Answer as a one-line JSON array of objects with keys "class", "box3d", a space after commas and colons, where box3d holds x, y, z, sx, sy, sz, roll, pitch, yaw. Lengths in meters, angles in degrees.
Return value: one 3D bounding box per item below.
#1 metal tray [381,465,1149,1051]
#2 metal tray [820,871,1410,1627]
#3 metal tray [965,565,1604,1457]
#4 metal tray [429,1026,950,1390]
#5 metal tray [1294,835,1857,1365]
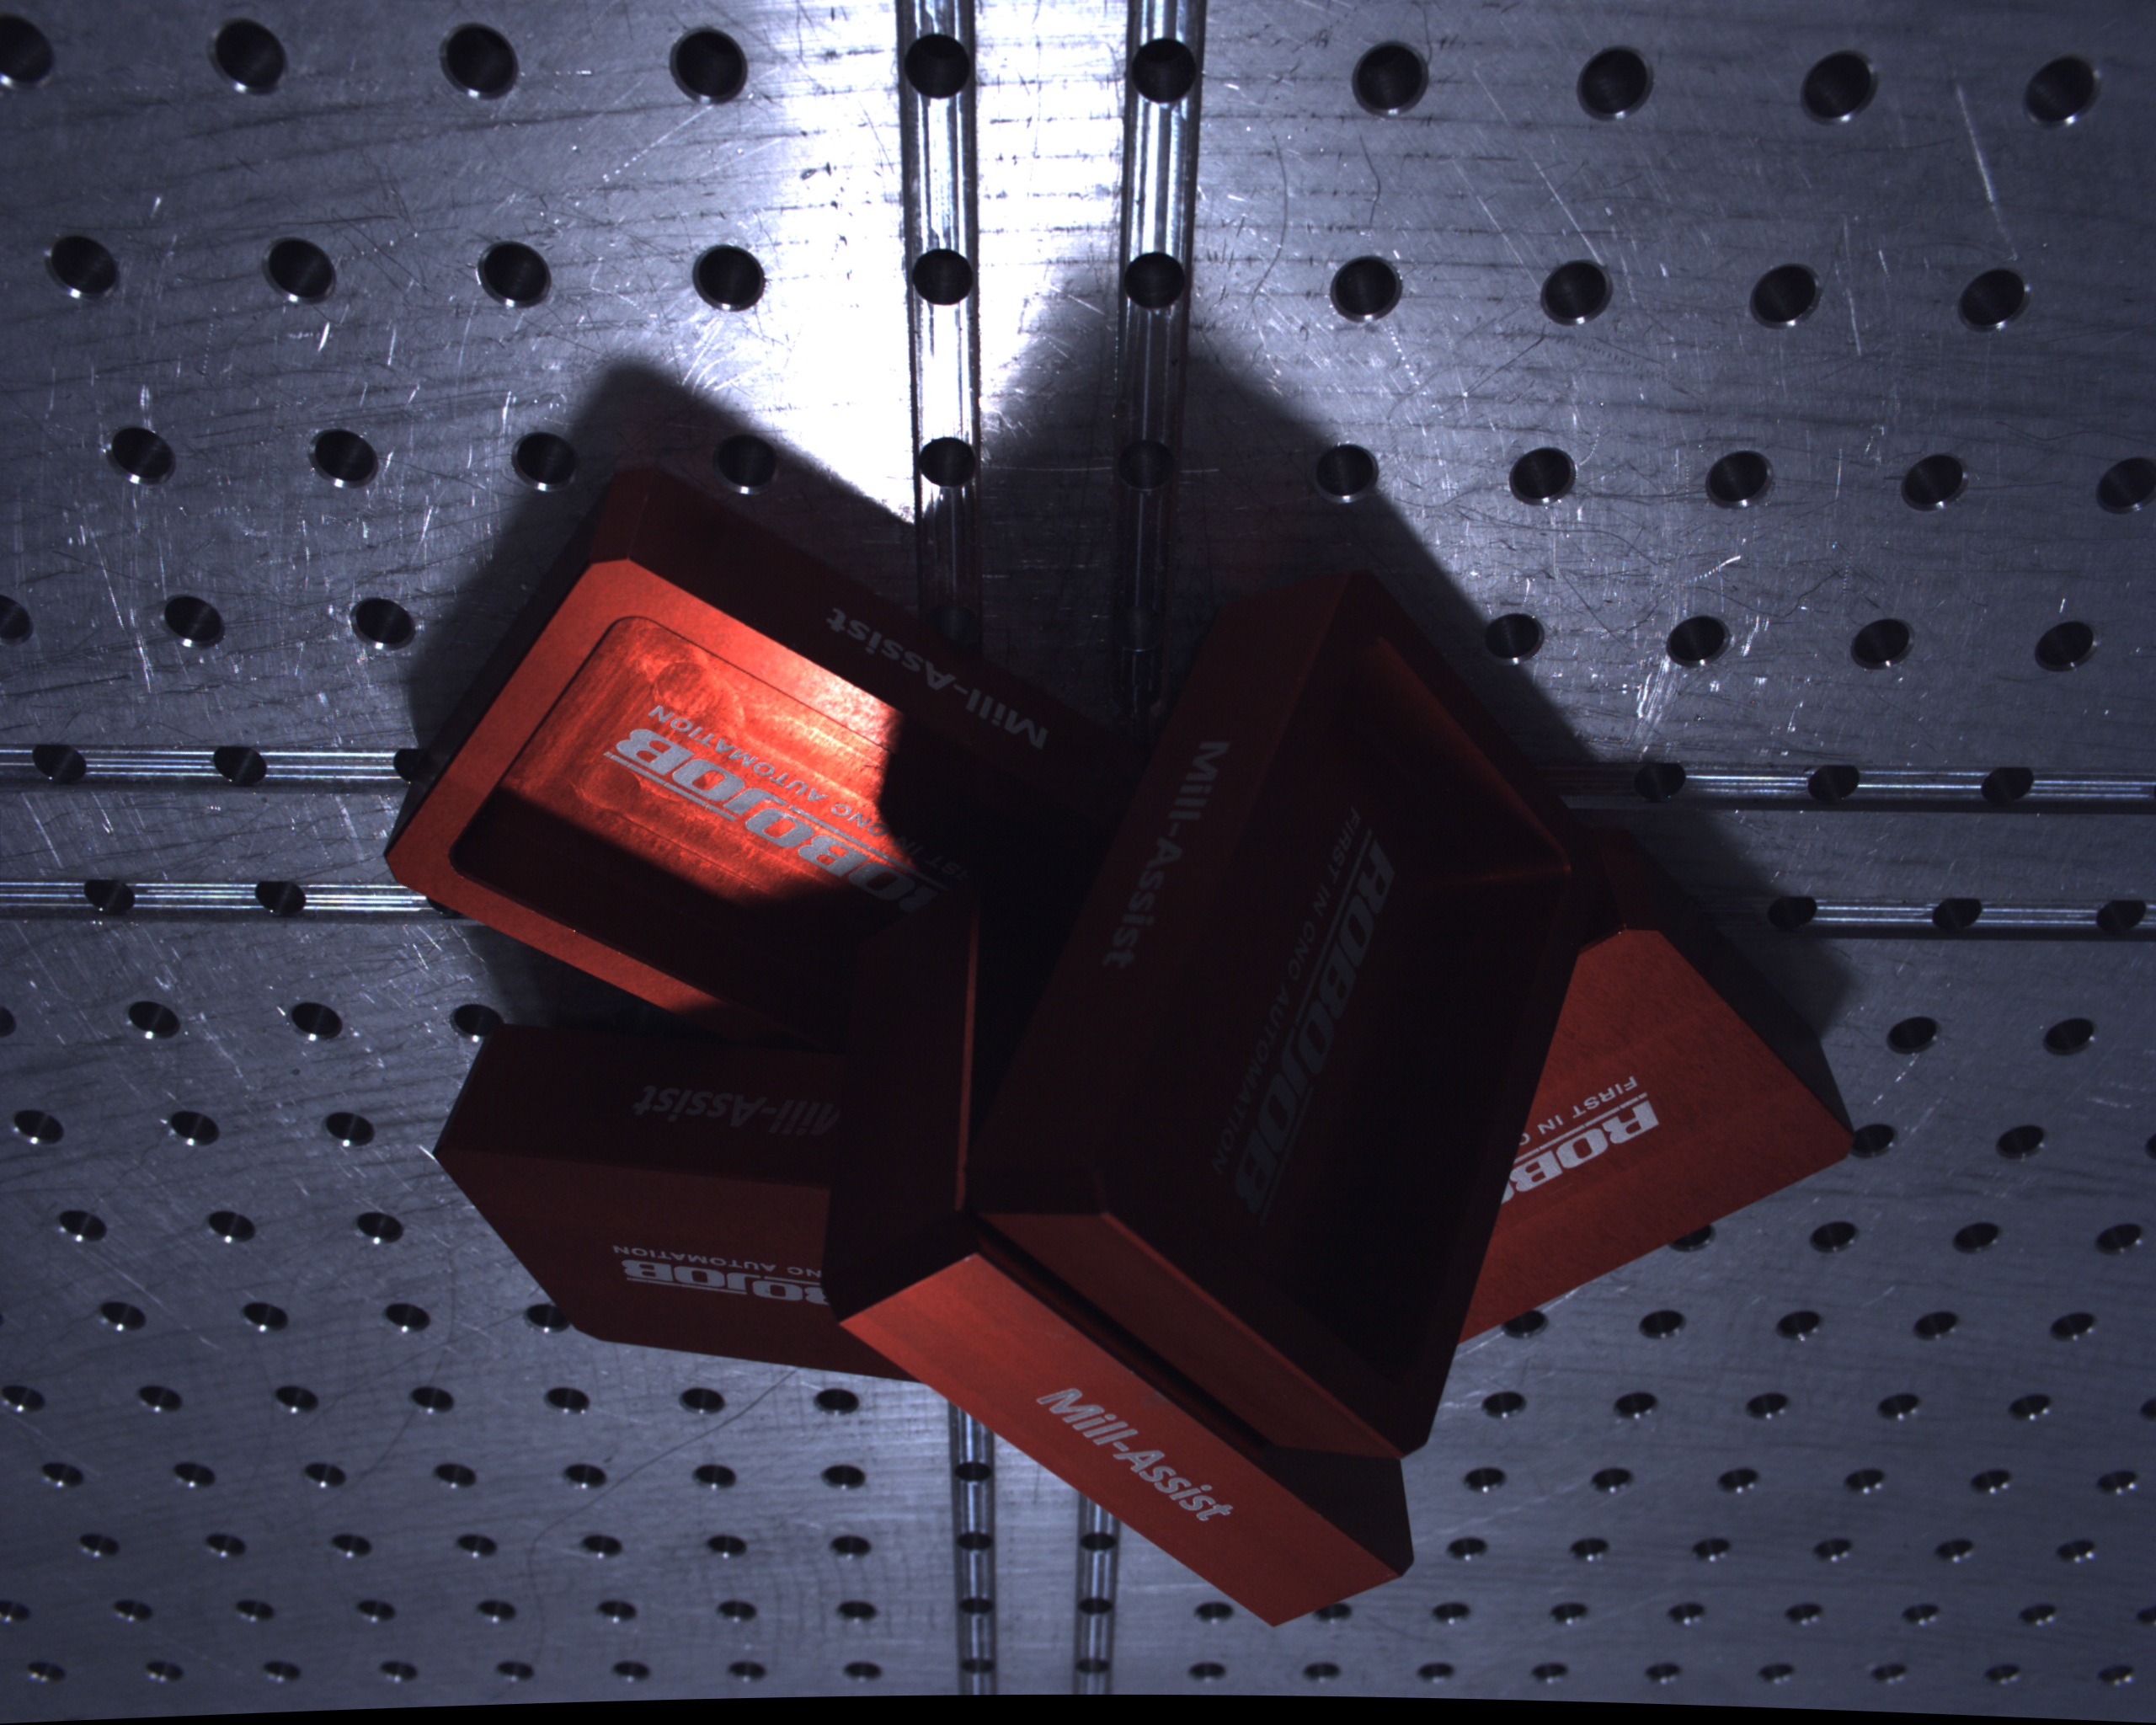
[{"class": "metal tray", "box3d": [-0.053, -0.007, 0.402, 0.131, 0.030, 0.090, 29, 124, -23]}, {"class": "metal tray", "box3d": [0.010, 0.073, 0.391, 0.030, 0.090, 0.130, -31, 124, 23]}, {"class": "metal tray", "box3d": [0.042, 0.024, 0.365, 0.030, 0.130, 0.090, -9, 136, 45]}, {"class": "metal tray", "box3d": [-0.058, 0.077, 0.441, 0.131, 0.030, 0.090, 4, 143, 15]}, {"class": "metal tray", "box3d": [0.089, 0.059, 0.458, 0.130, 0.030, 0.090, -34, 123, 25]}]
